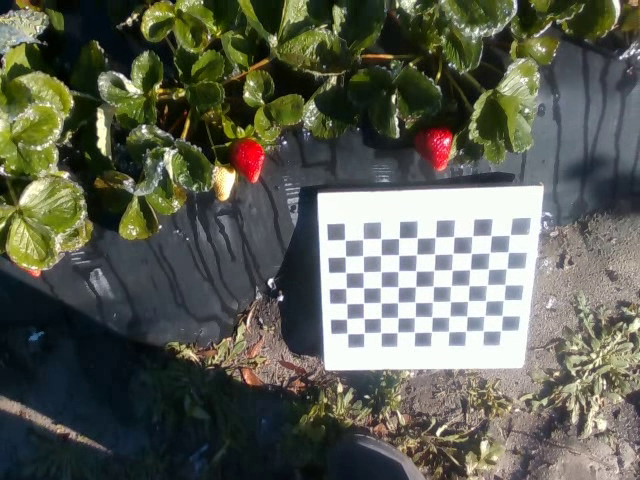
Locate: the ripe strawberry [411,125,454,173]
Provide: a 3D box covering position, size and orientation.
[{"bbox_3d":[0.142,-0.111,0.695,0.048,0.061,0.044,-8,-10,4],"label":"ripe strawberry"}]

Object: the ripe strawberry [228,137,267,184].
[{"bbox_3d":[-0.085,-0.094,0.713,0.042,0.061,0.046,-15,-21,7],"label":"ripe strawberry"}]
